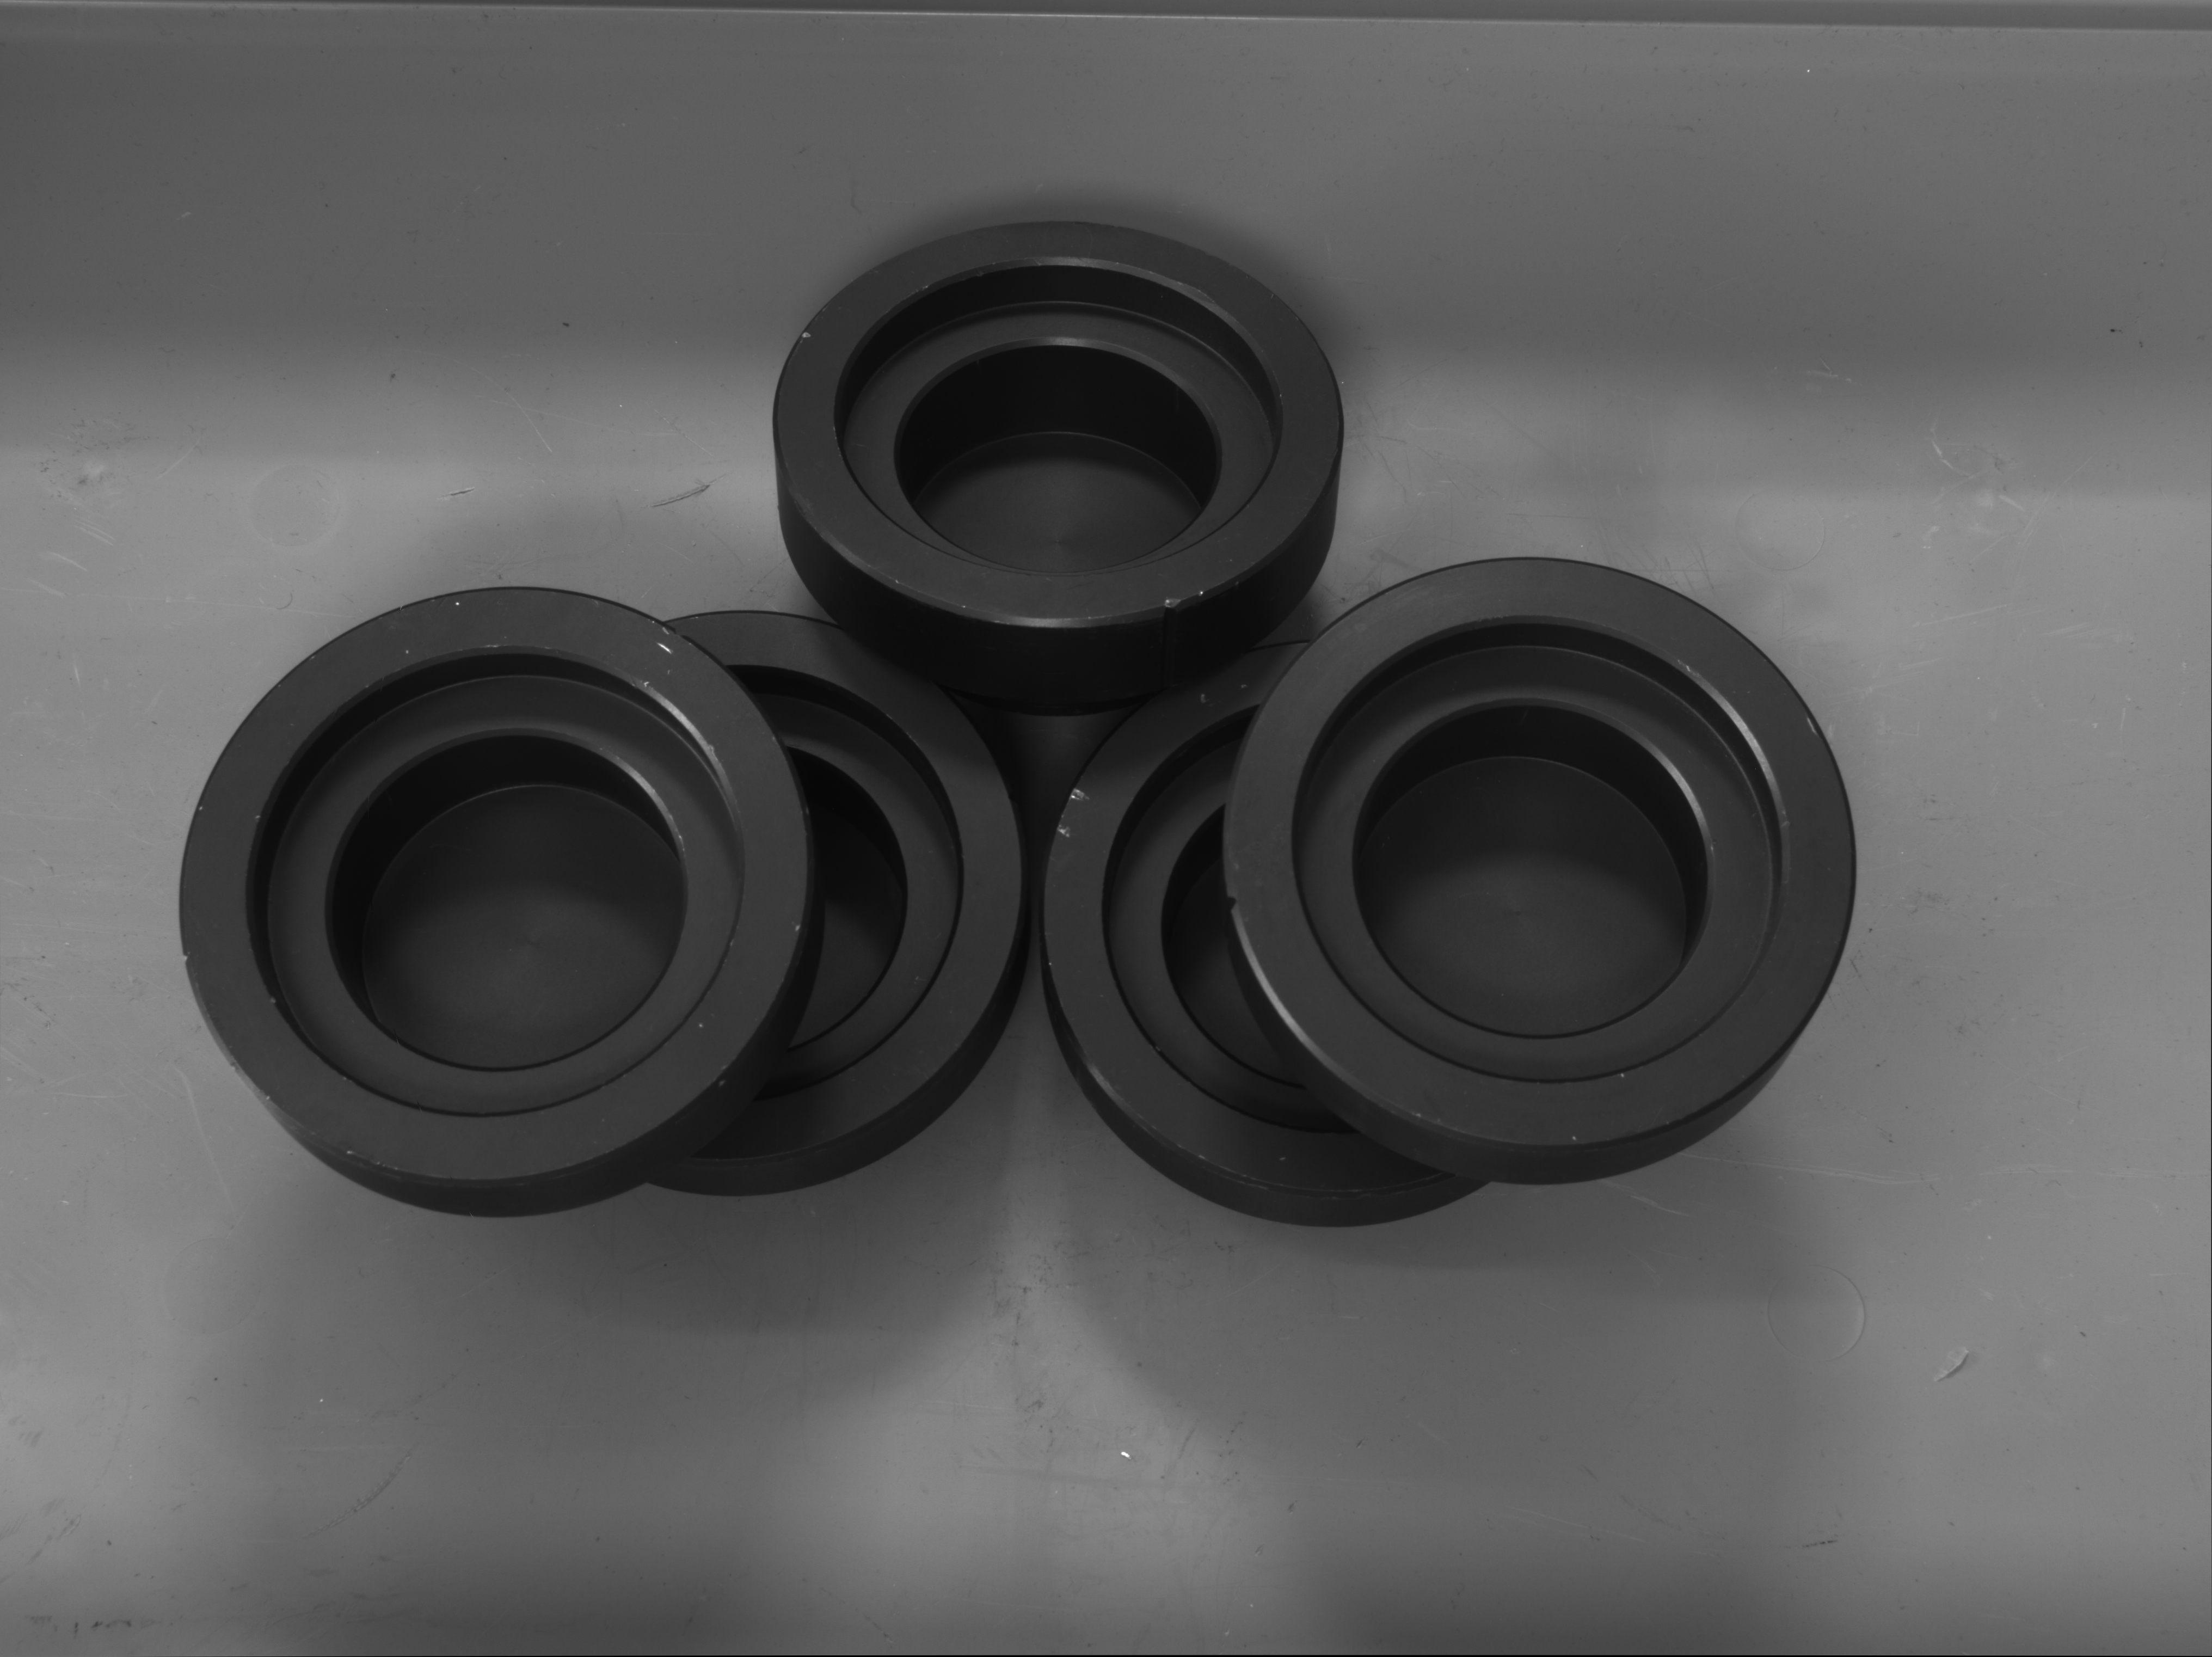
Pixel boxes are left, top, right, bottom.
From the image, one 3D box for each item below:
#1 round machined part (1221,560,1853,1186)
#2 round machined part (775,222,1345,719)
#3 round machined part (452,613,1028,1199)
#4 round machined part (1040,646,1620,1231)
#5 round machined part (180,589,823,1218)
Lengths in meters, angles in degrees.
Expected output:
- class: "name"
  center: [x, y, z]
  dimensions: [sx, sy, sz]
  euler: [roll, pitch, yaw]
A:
- class: "round machined part"
  center: [0.067, 0.010, 0.587]
  dimensions: [0.098, 0.042, 0.098]
  euler: [0, 70, 0]
- class: "round machined part"
  center: [-0.008, -0.058, 0.645]
  dimensions: [0.098, 0.042, 0.098]
  euler: [1, 52, -1]
- class: "round machined part"
  center: [-0.062, 0.016, 0.629]
  dimensions: [0.098, 0.042, 0.098]
  euler: [0, 70, 0]
- class: "round machined part"
  center: [0.038, 0.021, 0.627]
  dimensions: [0.098, 0.042, 0.098]
  euler: [0, 70, 0]
- class: "round machined part"
  center: [-0.094, 0.015, 0.585]
  dimensions: [0.098, 0.042, 0.098]
  euler: [0, 70, 0]
